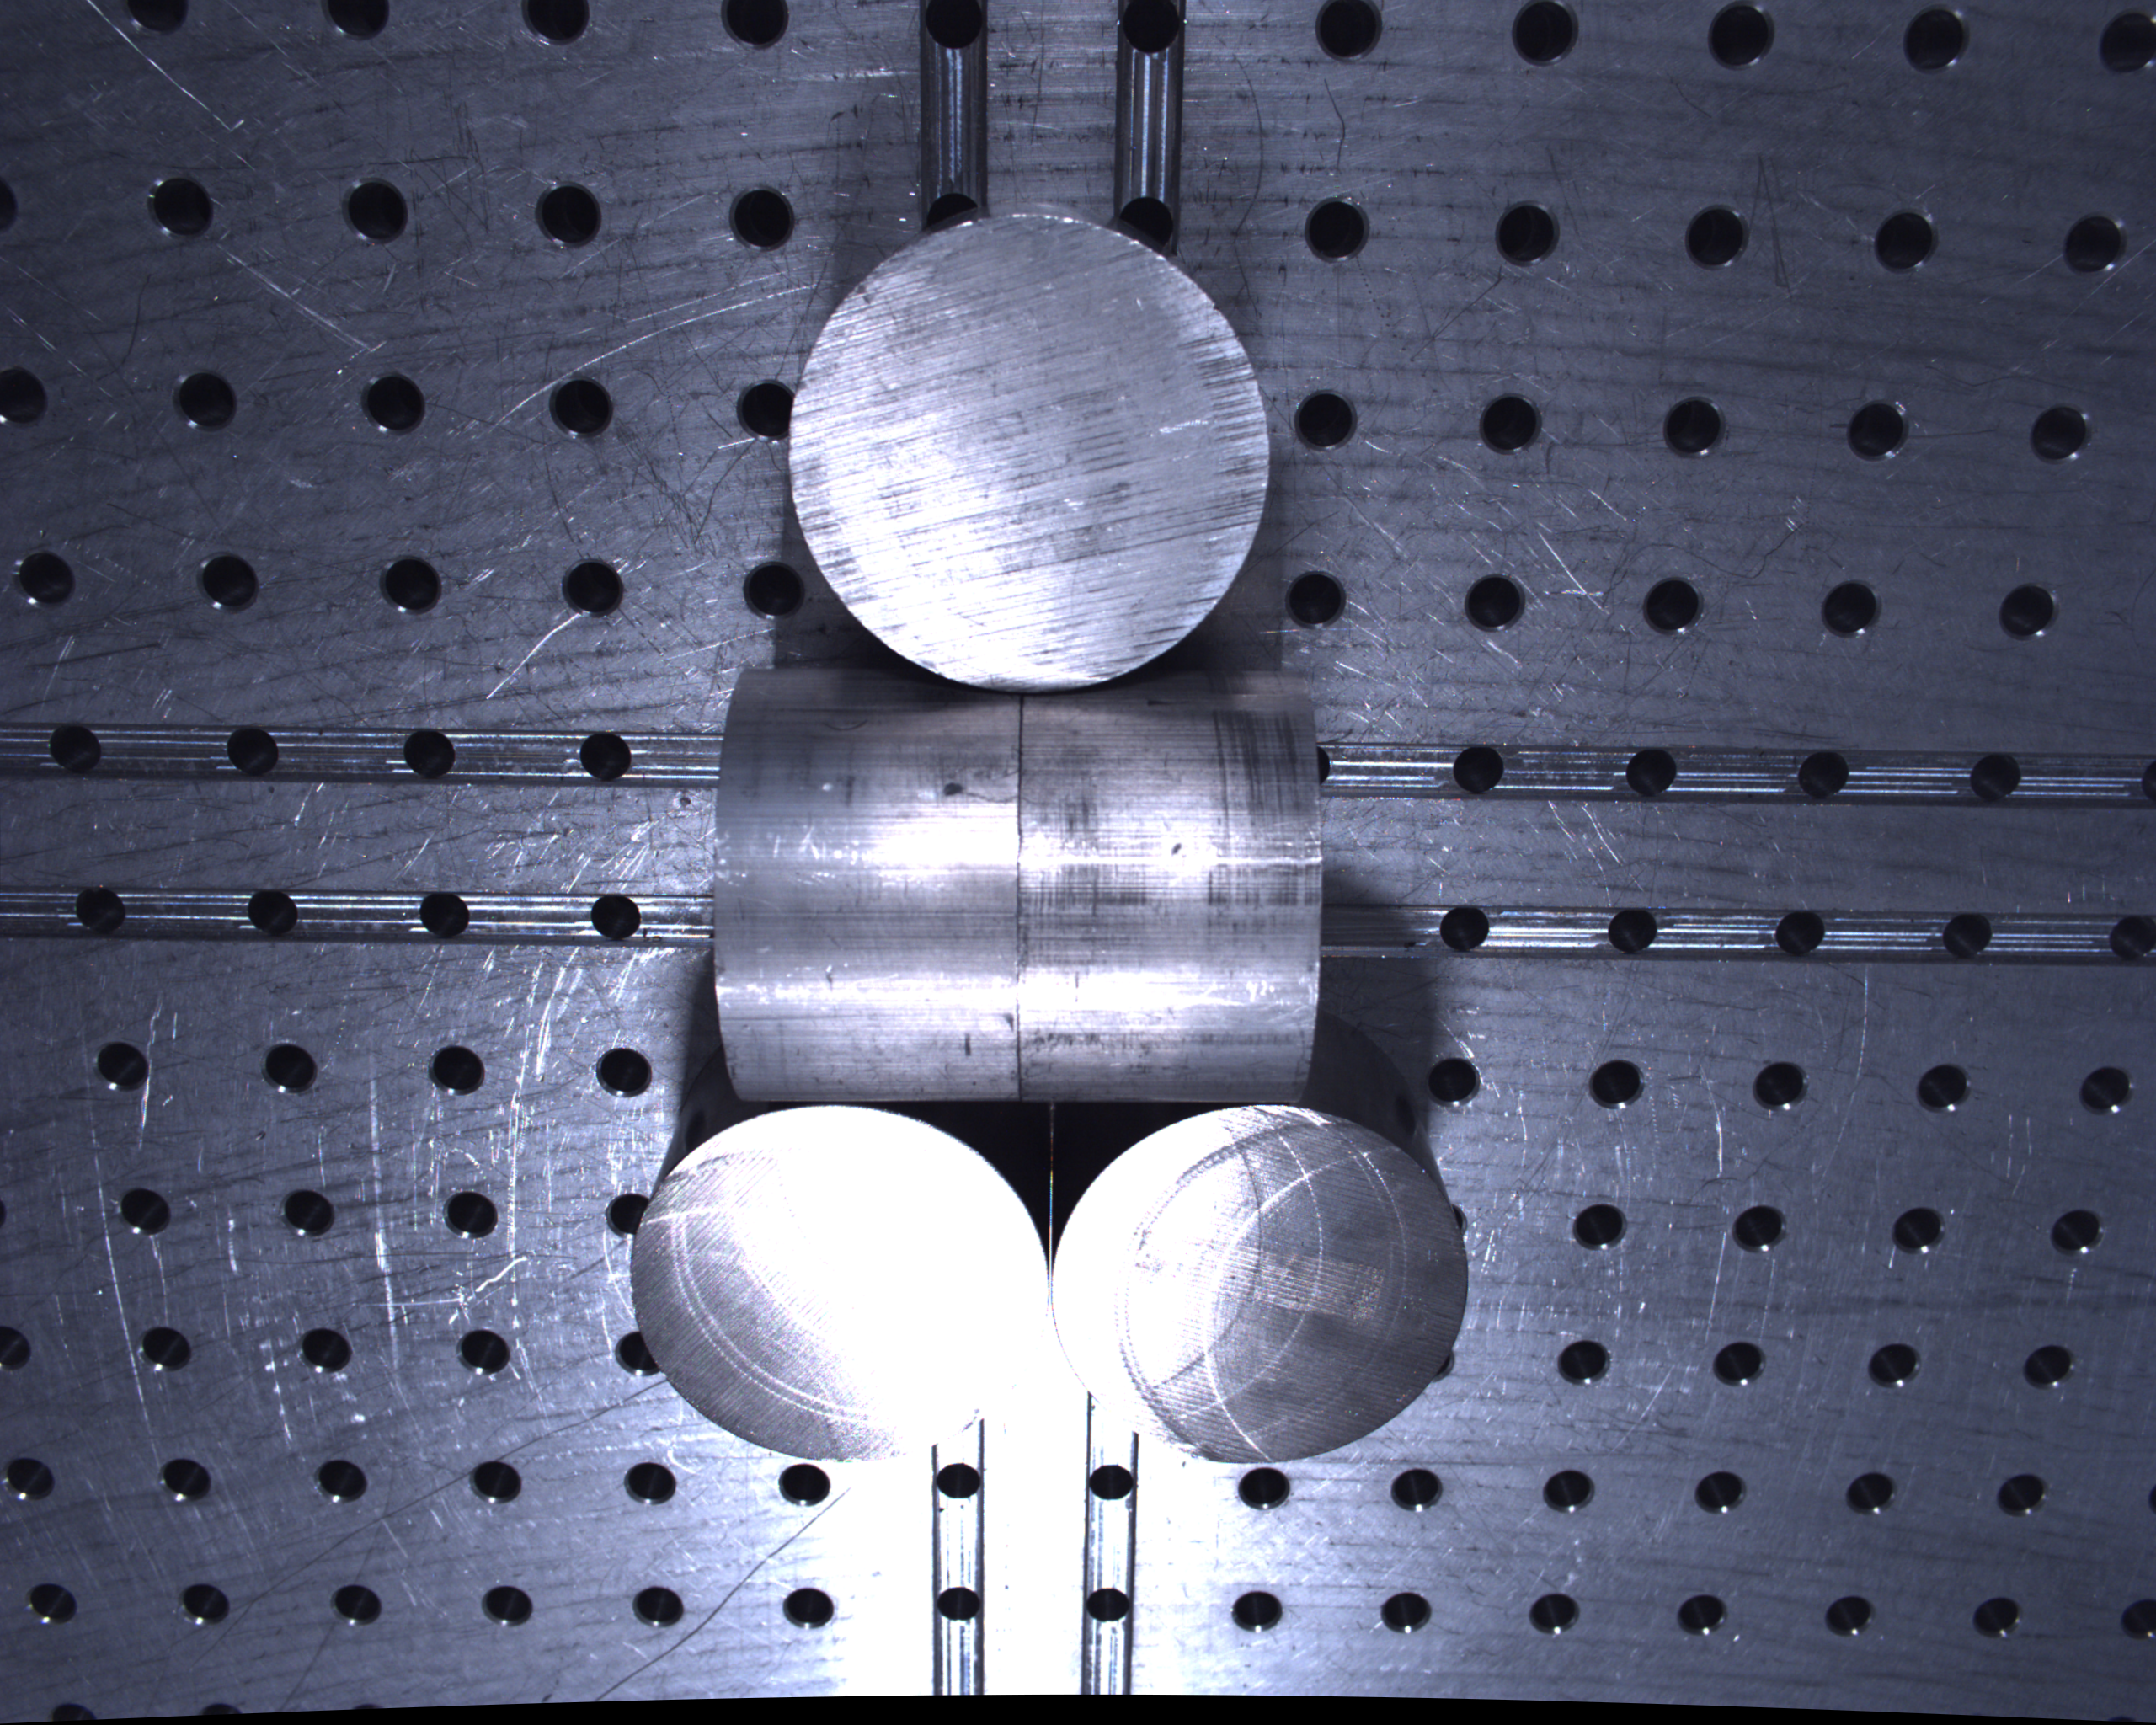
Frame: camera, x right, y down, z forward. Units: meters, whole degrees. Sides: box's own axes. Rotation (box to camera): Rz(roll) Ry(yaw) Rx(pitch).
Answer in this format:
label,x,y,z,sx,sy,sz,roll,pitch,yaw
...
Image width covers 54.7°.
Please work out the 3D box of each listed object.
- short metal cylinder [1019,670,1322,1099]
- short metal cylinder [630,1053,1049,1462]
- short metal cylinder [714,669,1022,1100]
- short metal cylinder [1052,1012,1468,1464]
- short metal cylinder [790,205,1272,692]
label,x,y,z,sx,sy,sz,roll,pitch,yaw
short metal cylinder,0.015,0.004,0.386,0.050,0.080,0.079,0,110,-1
short metal cylinder,-0.046,0.074,0.426,0.081,0.050,0.079,0,110,-1
short metal cylinder,-0.035,0.004,0.385,0.050,0.080,0.079,0,110,-1
short metal cylinder,0.035,0.074,0.426,0.081,0.050,0.079,0,110,-1
short metal cylinder,-0.008,-0.076,0.372,0.081,0.050,0.079,0,110,-1
